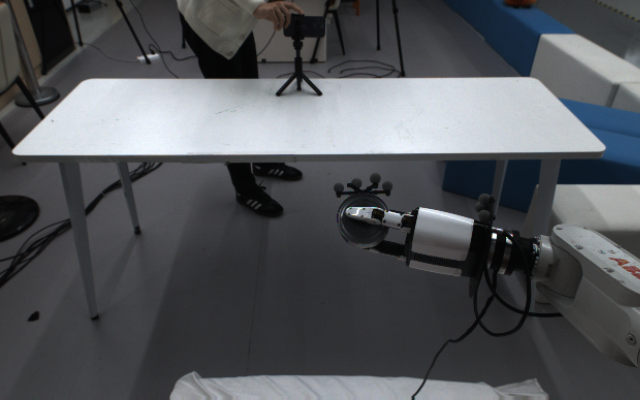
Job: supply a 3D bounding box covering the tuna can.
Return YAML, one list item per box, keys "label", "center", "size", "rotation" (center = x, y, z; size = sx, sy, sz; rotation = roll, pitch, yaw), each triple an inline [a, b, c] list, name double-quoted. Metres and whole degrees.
- label: "tuna can"
  center: [0.071, 0.033, 0.775]
  size: [0.085, 0.034, 0.085]
  rotation: [-2, 69, 6]
